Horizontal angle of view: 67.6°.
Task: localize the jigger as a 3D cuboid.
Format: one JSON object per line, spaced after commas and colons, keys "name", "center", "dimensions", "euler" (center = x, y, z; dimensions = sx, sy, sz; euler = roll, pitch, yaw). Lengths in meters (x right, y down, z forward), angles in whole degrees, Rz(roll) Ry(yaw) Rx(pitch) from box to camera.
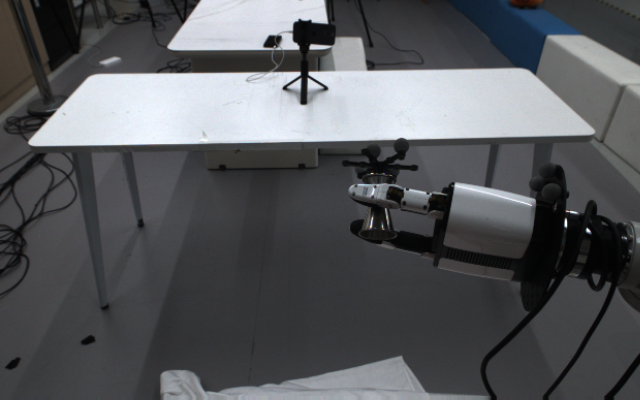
{"name": "jigger", "center": [0.065, 0.007, 0.559], "dimensions": [0.043, 0.043, 0.071], "euler": [4, 71, 3]}
